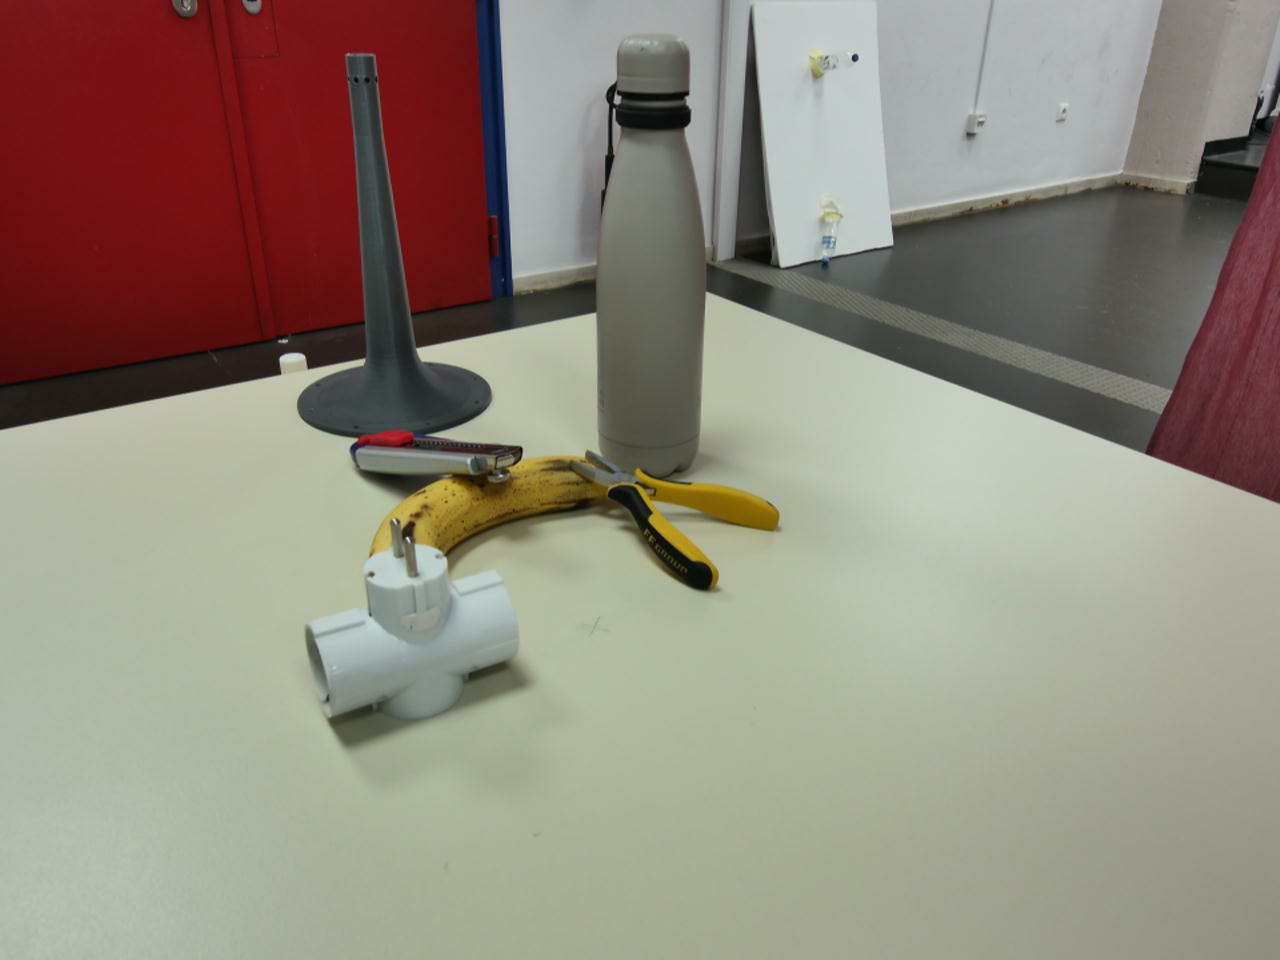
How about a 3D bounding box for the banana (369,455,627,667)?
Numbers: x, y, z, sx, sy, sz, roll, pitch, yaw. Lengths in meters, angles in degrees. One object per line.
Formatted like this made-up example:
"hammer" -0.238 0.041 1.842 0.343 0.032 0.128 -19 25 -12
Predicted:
"banana" -0.088 0.026 0.577 0.097 0.038 0.186 13 28 23
